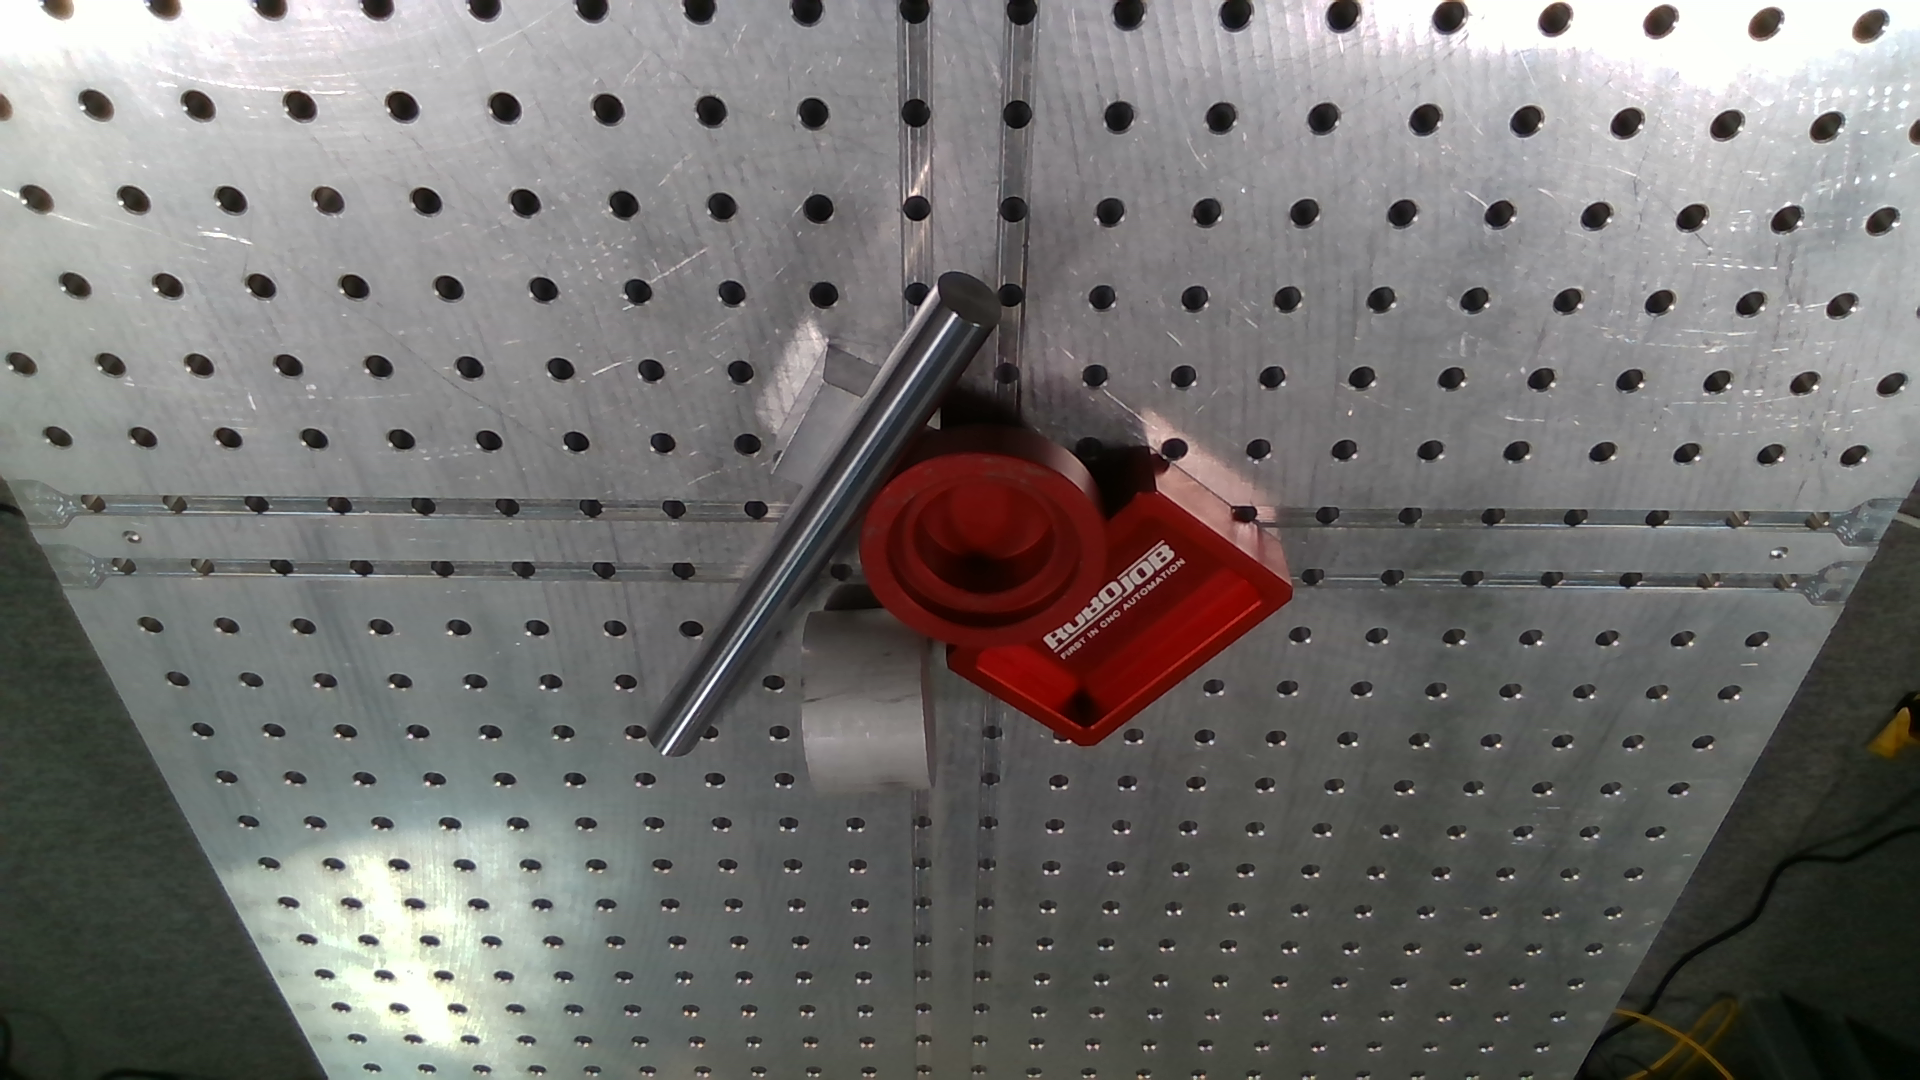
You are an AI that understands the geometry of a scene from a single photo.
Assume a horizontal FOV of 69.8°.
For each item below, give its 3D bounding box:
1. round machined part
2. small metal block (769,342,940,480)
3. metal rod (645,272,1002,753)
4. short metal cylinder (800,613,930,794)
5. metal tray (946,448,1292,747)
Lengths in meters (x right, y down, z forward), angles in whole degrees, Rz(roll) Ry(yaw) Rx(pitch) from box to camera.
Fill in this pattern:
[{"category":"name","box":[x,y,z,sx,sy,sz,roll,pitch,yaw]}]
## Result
[{"category":"round machined part","box":[0.010,-0.006,0.556,0.098,0.042,0.098,0,128,0]},{"category":"small metal block","box":[-0.041,-0.043,0.546,0.050,0.025,0.050,22,127,-18]},{"category":"metal rod","box":[-0.068,0.006,0.560,0.025,0.025,0.301,23,135,-18]},{"category":"short metal cylinder","box":[-0.039,0.070,0.604,0.050,0.080,0.080,-3,130,3]},{"category":"metal tray","box":[0.067,0.029,0.602,0.090,0.030,0.130,32,123,-25]}]
